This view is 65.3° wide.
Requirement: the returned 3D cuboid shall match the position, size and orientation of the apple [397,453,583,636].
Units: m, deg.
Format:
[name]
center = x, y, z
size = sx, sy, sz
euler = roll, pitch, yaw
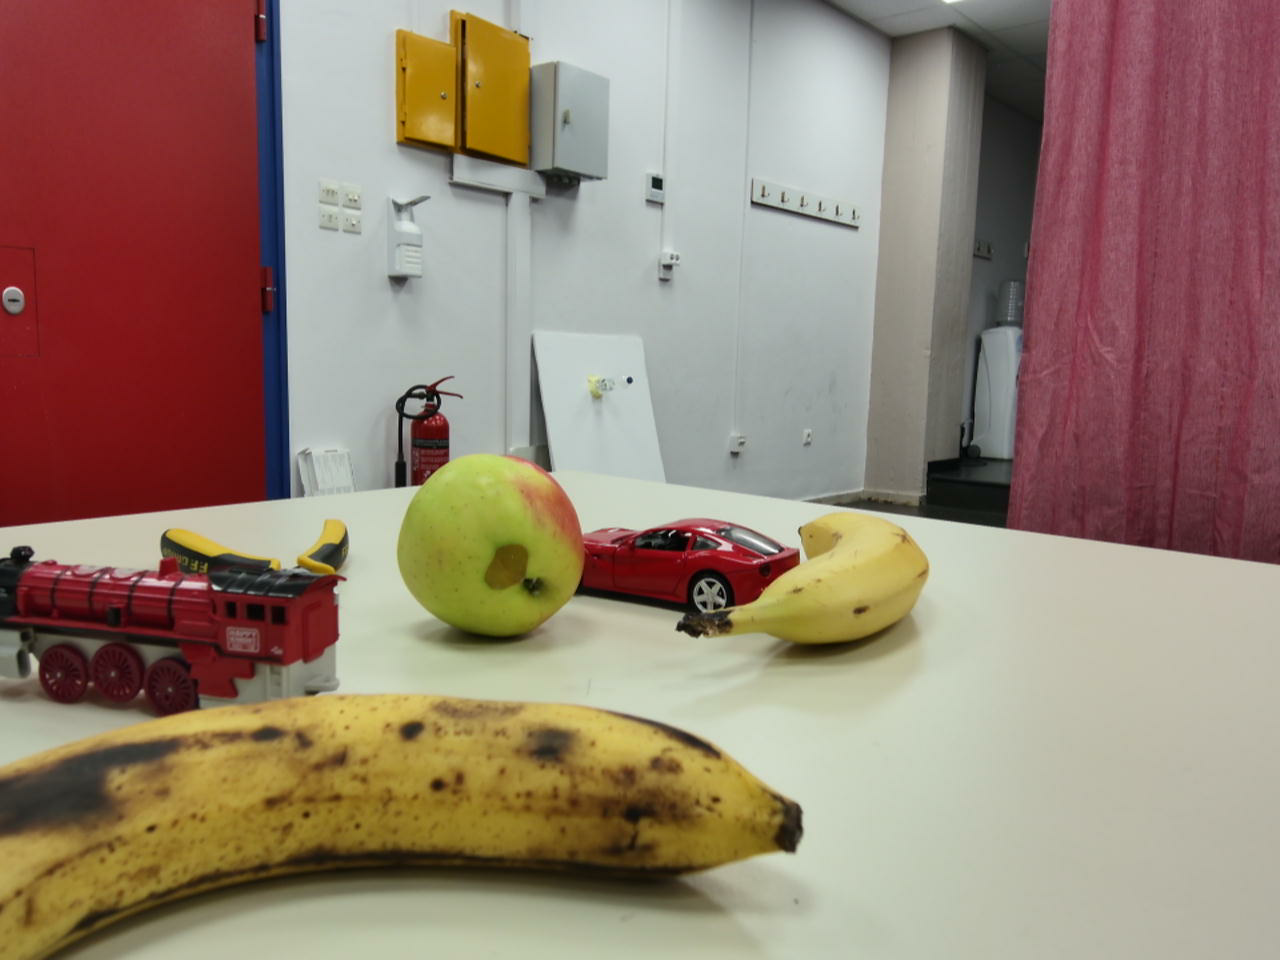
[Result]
[apple]
center = -0.061, 0.026, 0.419
size = 0.075, 0.074, 0.075
euler = 2, 5, 20
